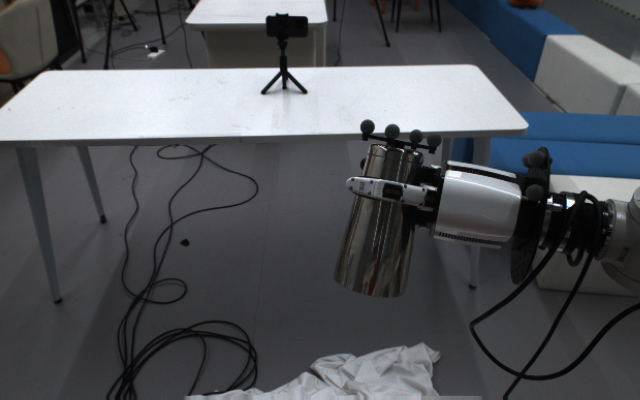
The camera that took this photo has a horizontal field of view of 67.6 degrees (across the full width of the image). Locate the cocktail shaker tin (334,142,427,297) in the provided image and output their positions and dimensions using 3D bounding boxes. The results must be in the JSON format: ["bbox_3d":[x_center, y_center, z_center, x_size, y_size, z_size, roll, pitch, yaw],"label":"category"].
[{"bbox_3d":[0.081,0.019,0.593,0.093,0.170,0.093,10,9,-2],"label":"cocktail shaker tin"}]
